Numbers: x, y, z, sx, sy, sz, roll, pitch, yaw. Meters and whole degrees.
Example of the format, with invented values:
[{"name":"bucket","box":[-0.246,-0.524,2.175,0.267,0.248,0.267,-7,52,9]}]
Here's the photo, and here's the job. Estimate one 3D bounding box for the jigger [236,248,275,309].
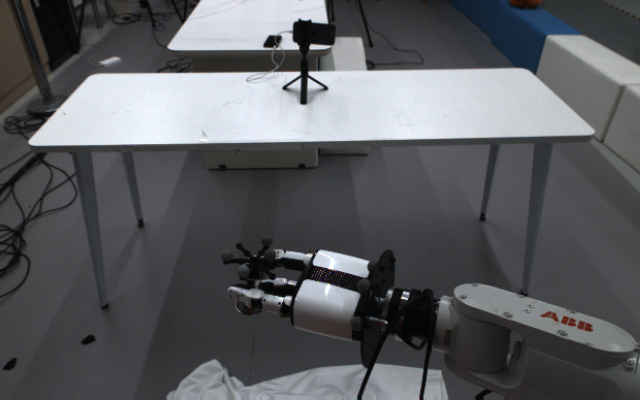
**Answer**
[{"name":"jigger","box":[-0.100,0.129,0.710,0.043,0.071,0.043,9,30,-5]}]
